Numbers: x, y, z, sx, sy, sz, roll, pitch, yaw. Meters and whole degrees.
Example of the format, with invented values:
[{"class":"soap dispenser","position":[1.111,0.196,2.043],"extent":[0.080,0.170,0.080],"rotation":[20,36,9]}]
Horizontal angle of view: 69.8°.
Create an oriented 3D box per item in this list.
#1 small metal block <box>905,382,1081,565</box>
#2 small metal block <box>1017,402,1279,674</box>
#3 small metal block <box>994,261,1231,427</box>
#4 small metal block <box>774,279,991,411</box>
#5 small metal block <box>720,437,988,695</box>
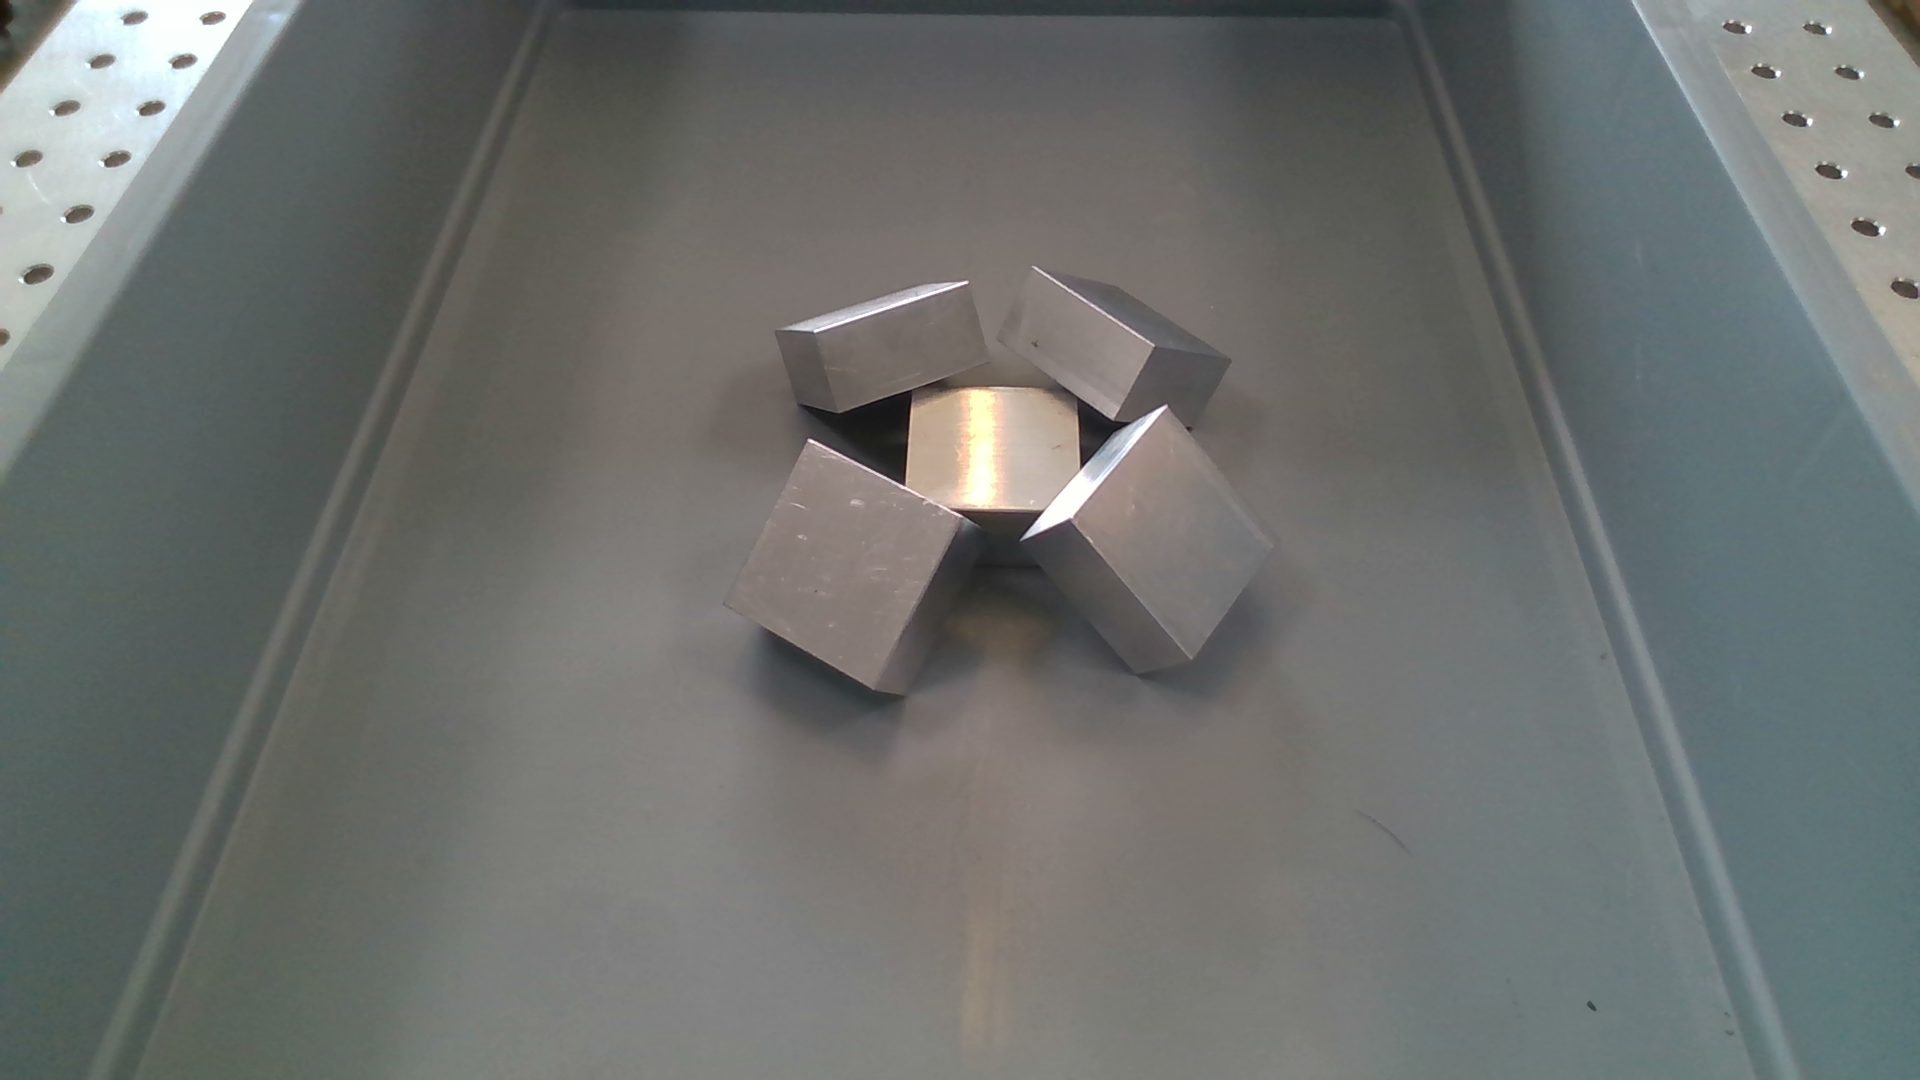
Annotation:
[{"class":"small metal block","position":[0.010,-0.020,0.408],"extent":[0.050,0.025,0.050],"rotation":[1,50,1]},{"class":"small metal block","position":[0.052,0.000,0.376],"extent":[0.050,0.025,0.050],"rotation":[48,58,-10]},{"class":"small metal block","position":[0.048,-0.060,0.425],"extent":[0.050,0.025,0.050],"rotation":[39,23,29]},{"class":"small metal block","position":[-0.025,-0.061,0.428],"extent":[0.050,0.025,0.050],"rotation":[-21,15,-16]},{"class":"small metal block","position":[-0.028,0.007,0.371],"extent":[0.050,0.025,0.050],"rotation":[27,90,20]}]
